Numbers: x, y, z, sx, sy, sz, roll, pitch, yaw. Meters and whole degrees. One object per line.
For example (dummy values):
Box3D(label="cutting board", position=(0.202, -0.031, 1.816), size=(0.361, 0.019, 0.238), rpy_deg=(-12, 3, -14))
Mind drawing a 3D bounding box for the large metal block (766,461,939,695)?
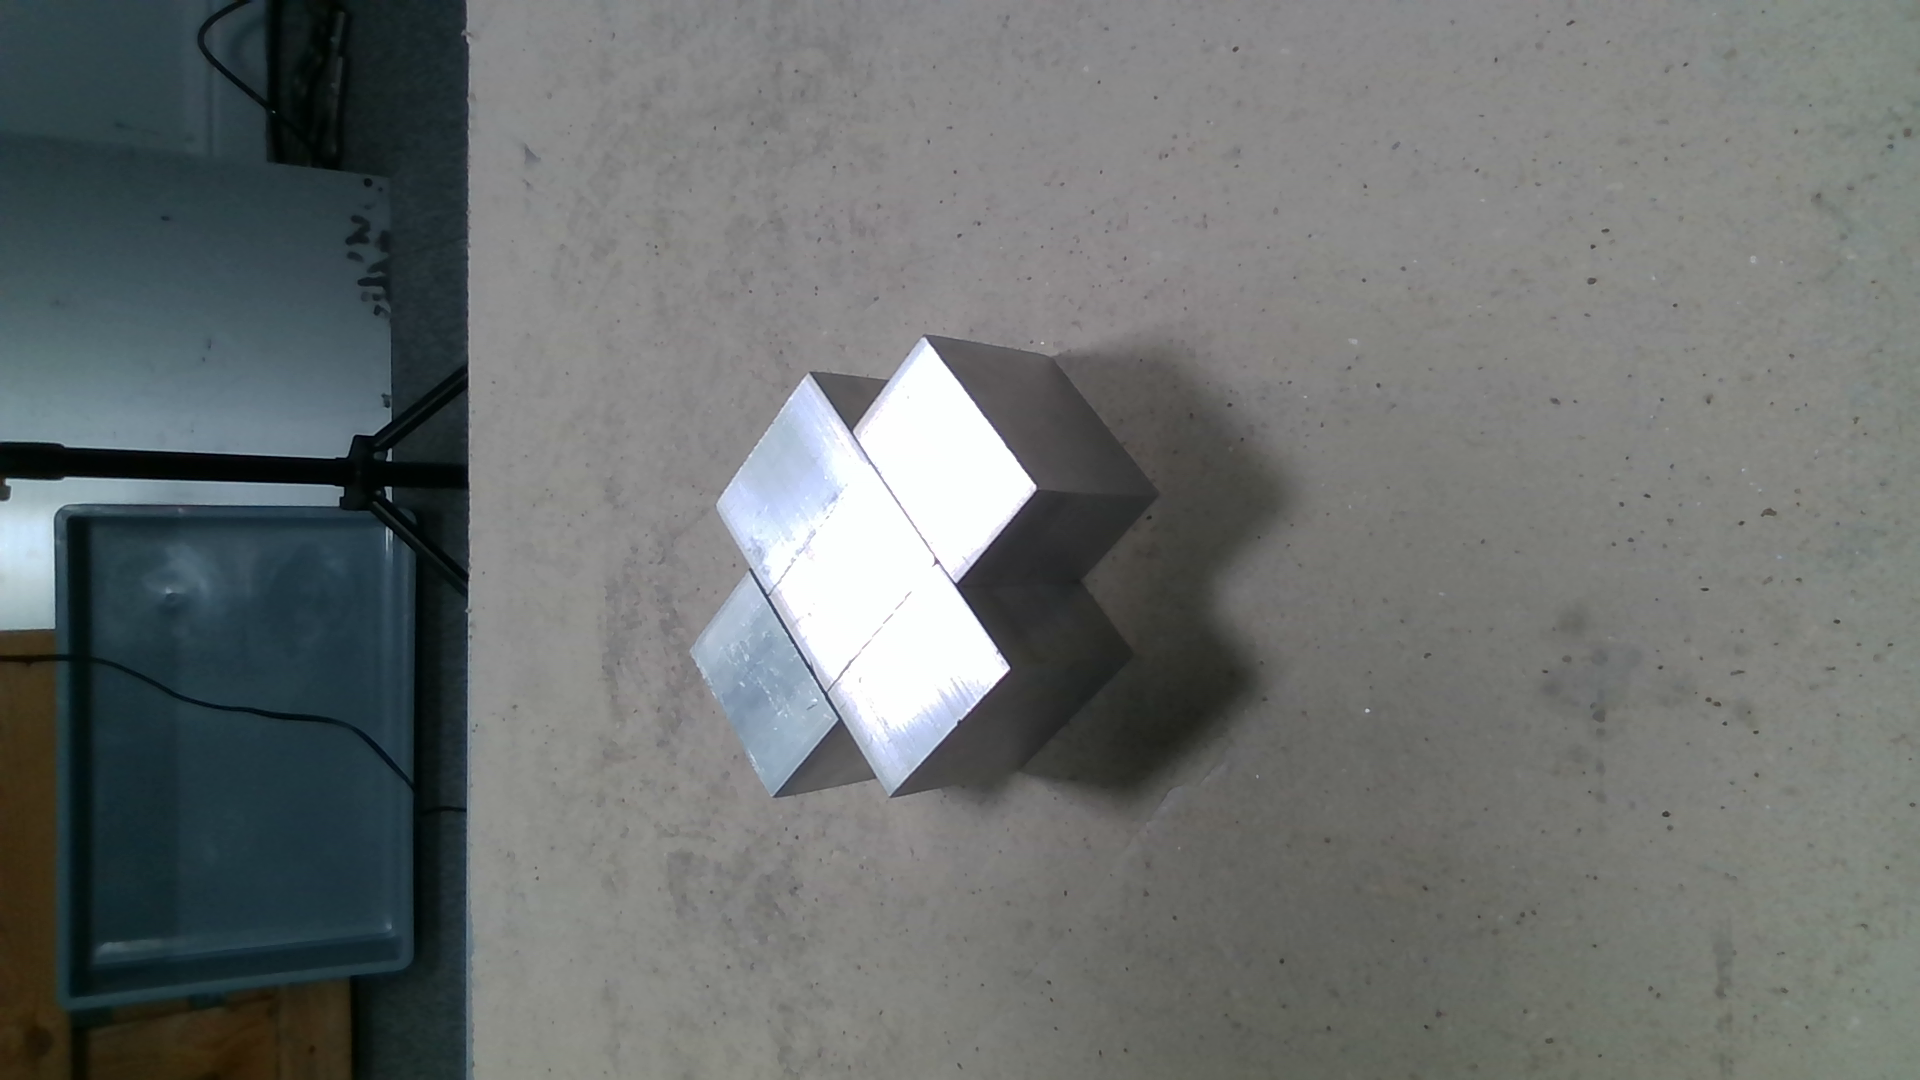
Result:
Box3D(label="large metal block", position=(-0.018, 0.015, 0.562), size=(0.080, 0.080, 0.050), rpy_deg=(-50, 61, 29))

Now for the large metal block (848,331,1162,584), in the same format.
Box3D(label="large metal block", position=(0.018, -0.031, 0.532), size=(0.050, 0.080, 0.080), rpy_deg=(-50, 61, 29))

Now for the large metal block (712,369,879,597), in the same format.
Box3D(label="large metal block", position=(-0.044, -0.022, 0.584), size=(0.080, 0.080, 0.050), rpy_deg=(-50, 61, 29))

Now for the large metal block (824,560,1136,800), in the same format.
Box3D(label="large metal block", position=(0.008, 0.053, 0.541), size=(0.080, 0.080, 0.050), rpy_deg=(-50, 61, 29))

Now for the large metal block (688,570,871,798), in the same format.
Box3D(label="large metal block", position=(-0.057, 0.059, 0.596), size=(0.050, 0.080, 0.080), rpy_deg=(-50, 61, 29))
